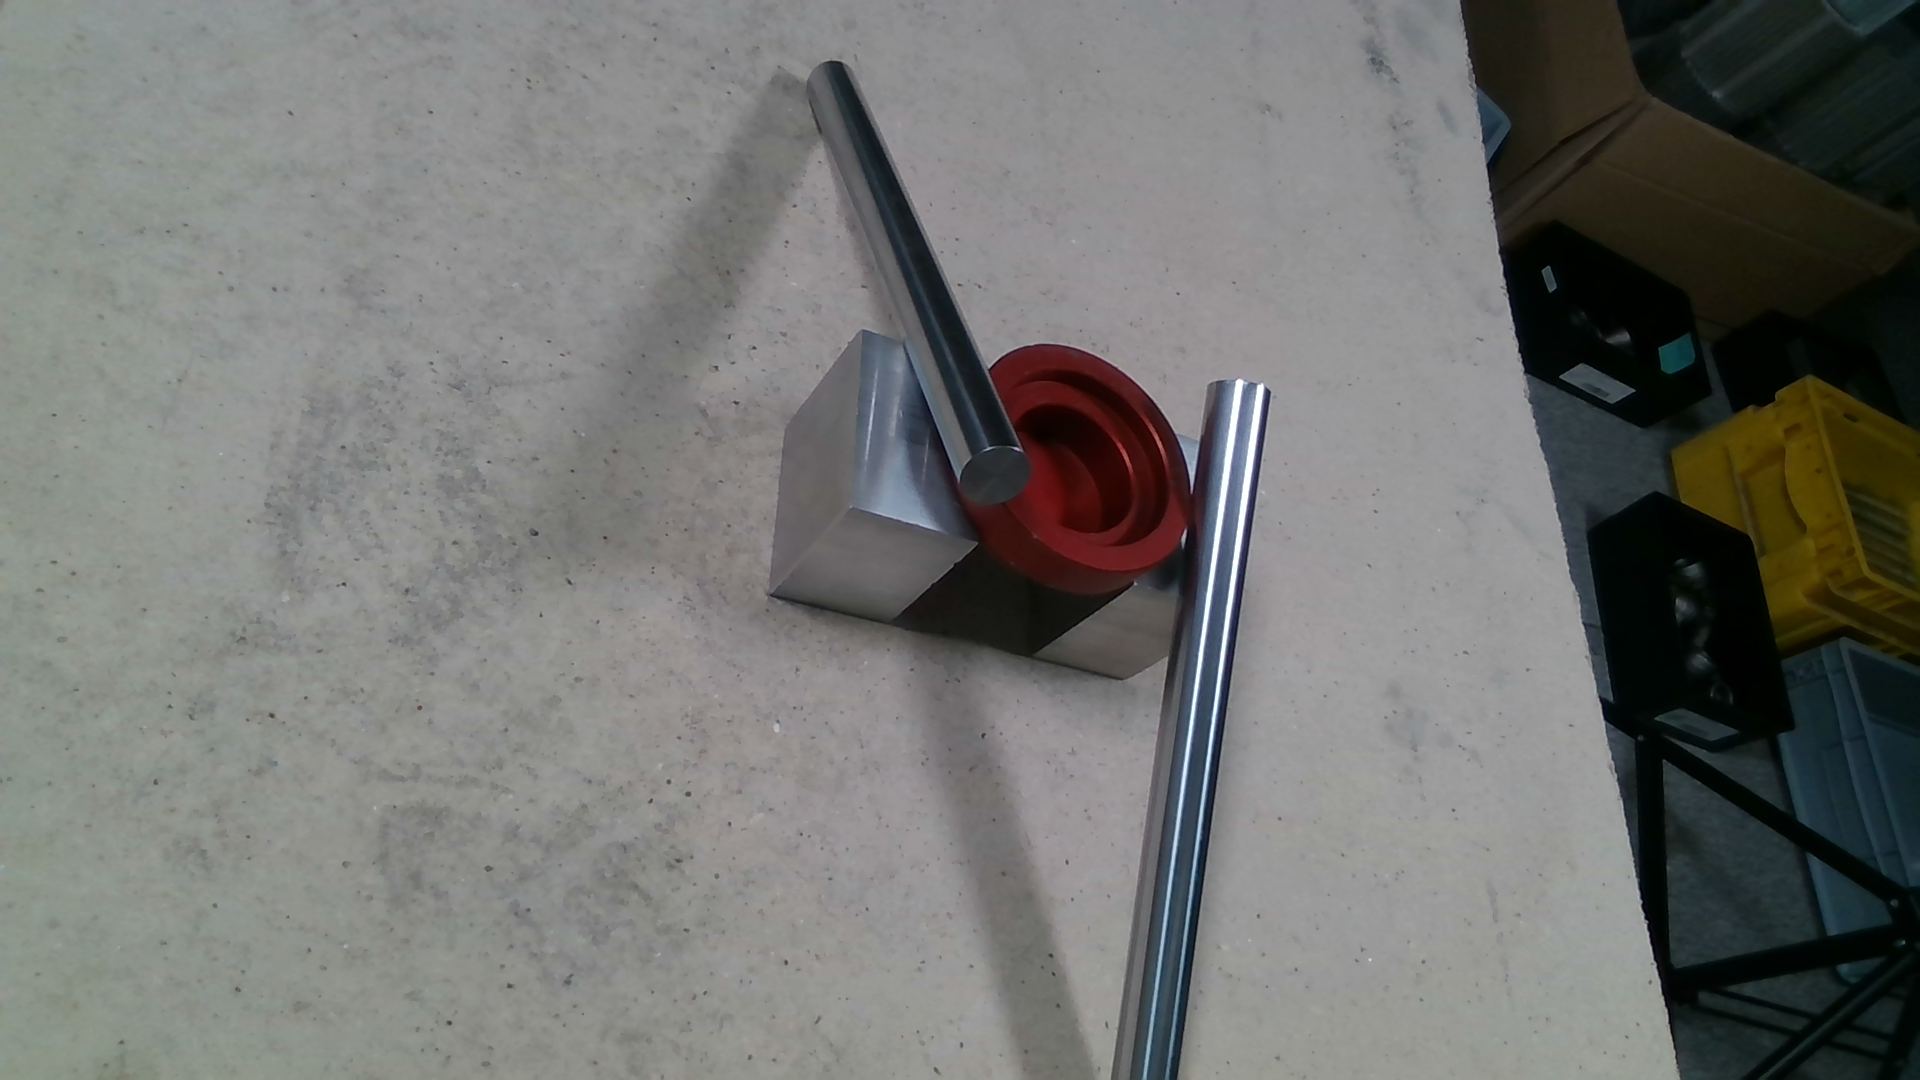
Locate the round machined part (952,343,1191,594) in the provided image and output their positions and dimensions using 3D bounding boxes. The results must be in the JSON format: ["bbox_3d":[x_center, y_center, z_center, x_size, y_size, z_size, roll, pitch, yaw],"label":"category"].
[{"bbox_3d":[0.038,-0.024,0.535,0.098,0.042,0.098,14,59,-25],"label":"round machined part"}]

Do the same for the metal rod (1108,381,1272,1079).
[{"bbox_3d":[0.086,0.087,0.523,0.025,0.025,0.300,14,81,-25],"label":"metal rod"}]

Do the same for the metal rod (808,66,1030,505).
[{"bbox_3d":[-0.025,-0.120,0.563,0.025,0.025,0.299,10,37,-27],"label":"metal rod"}]

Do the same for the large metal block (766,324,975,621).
[{"bbox_3d":[-0.035,-0.024,0.542,0.050,0.080,0.080,15,58,-24],"label":"large metal block"}]

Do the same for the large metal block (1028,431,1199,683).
[{"bbox_3d":[0.071,0.006,0.591,0.050,0.080,0.080,15,58,-24],"label":"large metal block"}]
